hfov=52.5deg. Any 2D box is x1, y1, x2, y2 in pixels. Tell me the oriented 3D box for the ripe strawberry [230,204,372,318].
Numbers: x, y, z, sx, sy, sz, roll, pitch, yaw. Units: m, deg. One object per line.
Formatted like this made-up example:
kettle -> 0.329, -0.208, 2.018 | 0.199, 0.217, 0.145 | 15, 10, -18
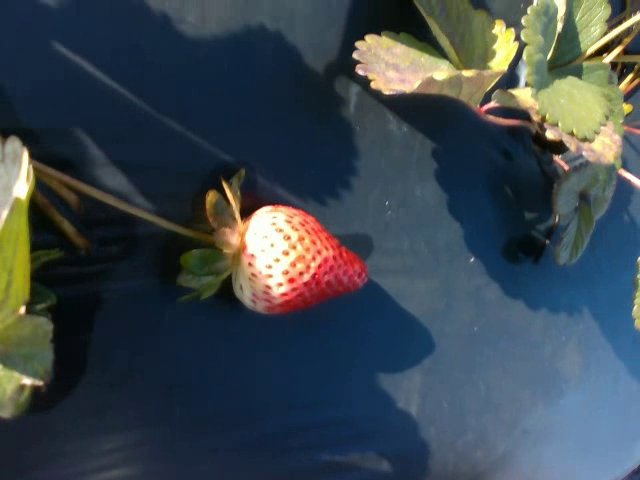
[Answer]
ripe strawberry -> -0.004, 0.008, 0.212 | 0.063, 0.044, 0.045 | 8, -36, -25
